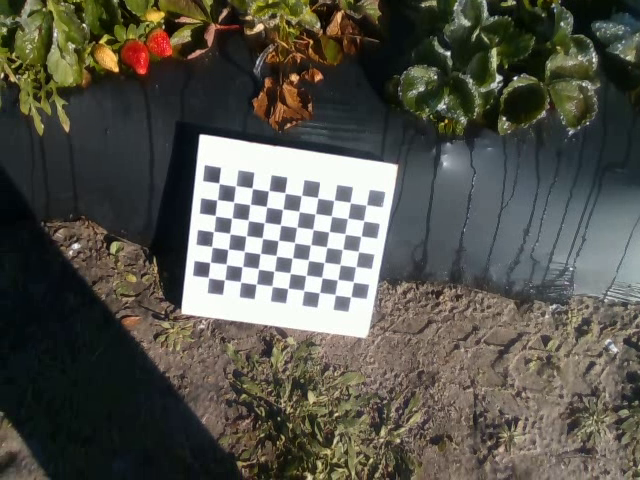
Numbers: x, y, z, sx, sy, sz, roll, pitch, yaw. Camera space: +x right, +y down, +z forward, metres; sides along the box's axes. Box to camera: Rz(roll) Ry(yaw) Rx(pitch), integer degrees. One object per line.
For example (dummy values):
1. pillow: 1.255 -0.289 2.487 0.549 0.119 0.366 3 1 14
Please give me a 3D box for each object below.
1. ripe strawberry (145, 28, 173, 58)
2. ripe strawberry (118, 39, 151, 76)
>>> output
1. ripe strawberry: -0.204 -0.255 0.857 0.041 0.036 0.030 36 8 -4
2. ripe strawberry: -0.230 -0.228 0.843 0.037 0.051 0.039 -30 -25 3
